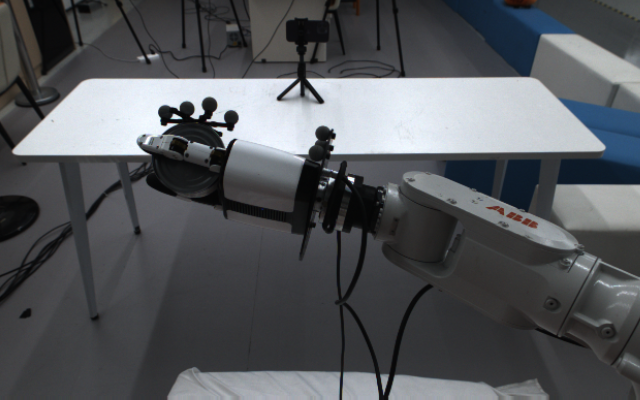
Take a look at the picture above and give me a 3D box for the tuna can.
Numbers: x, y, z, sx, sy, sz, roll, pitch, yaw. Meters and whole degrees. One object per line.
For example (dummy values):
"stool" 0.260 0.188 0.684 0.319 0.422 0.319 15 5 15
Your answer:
"tuna can" -0.151 -0.046 0.577 0.085 0.034 0.085 0 77 -2
